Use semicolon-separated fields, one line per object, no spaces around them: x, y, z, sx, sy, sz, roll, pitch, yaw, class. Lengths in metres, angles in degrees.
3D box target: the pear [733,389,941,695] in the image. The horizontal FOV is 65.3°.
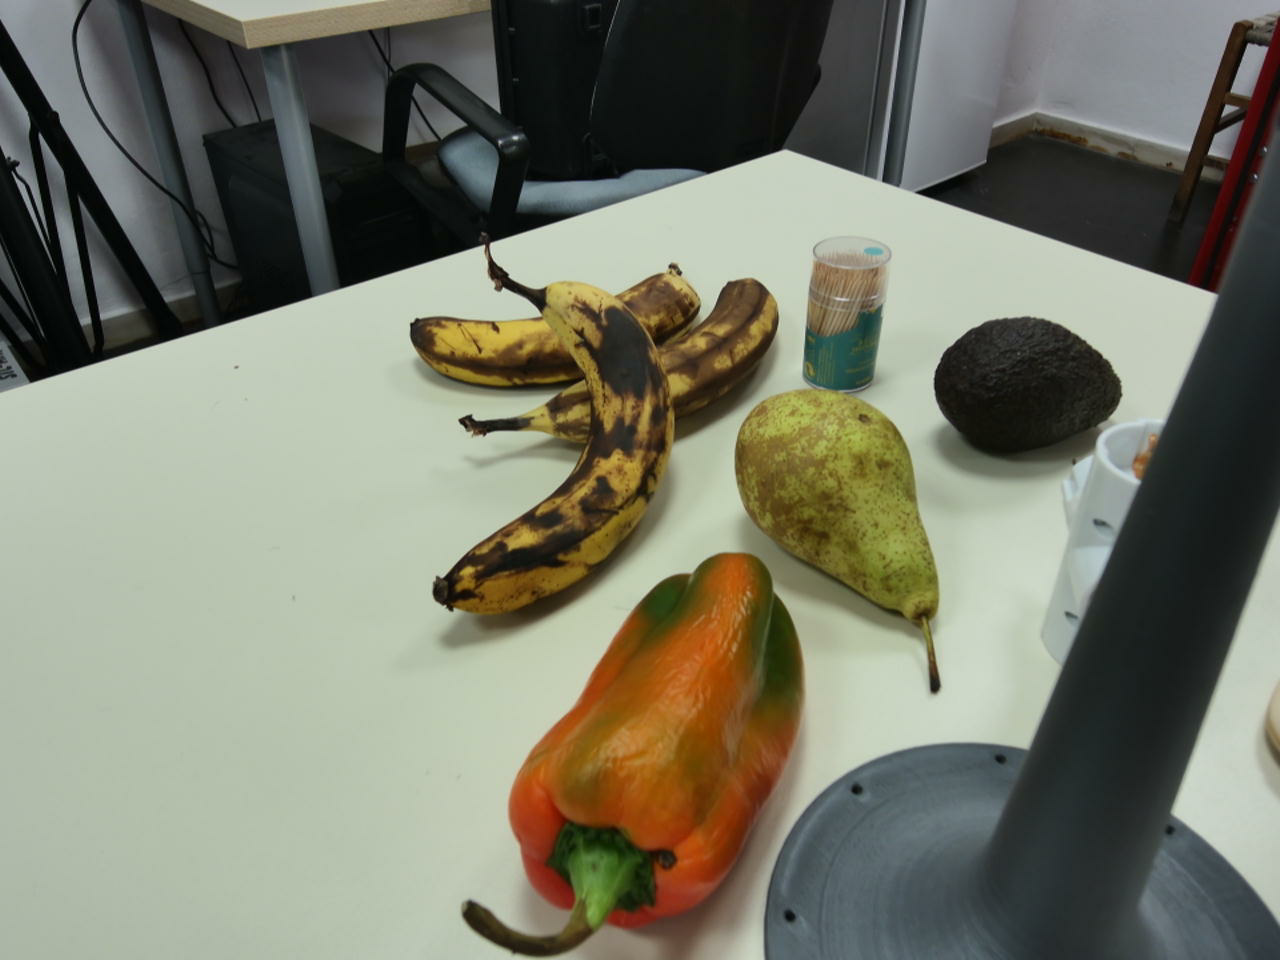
0.092;0.008;0.416;0.128;0.075;0.071;31;44;35;pear
